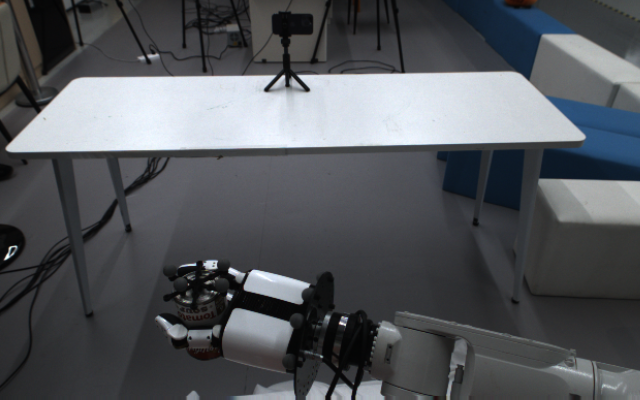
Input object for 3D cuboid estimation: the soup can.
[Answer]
[{"bbox_3d":[-0.153,0.154,0.644,0.067,0.101,0.067,-2,32,1],"label":"soup can"}]
